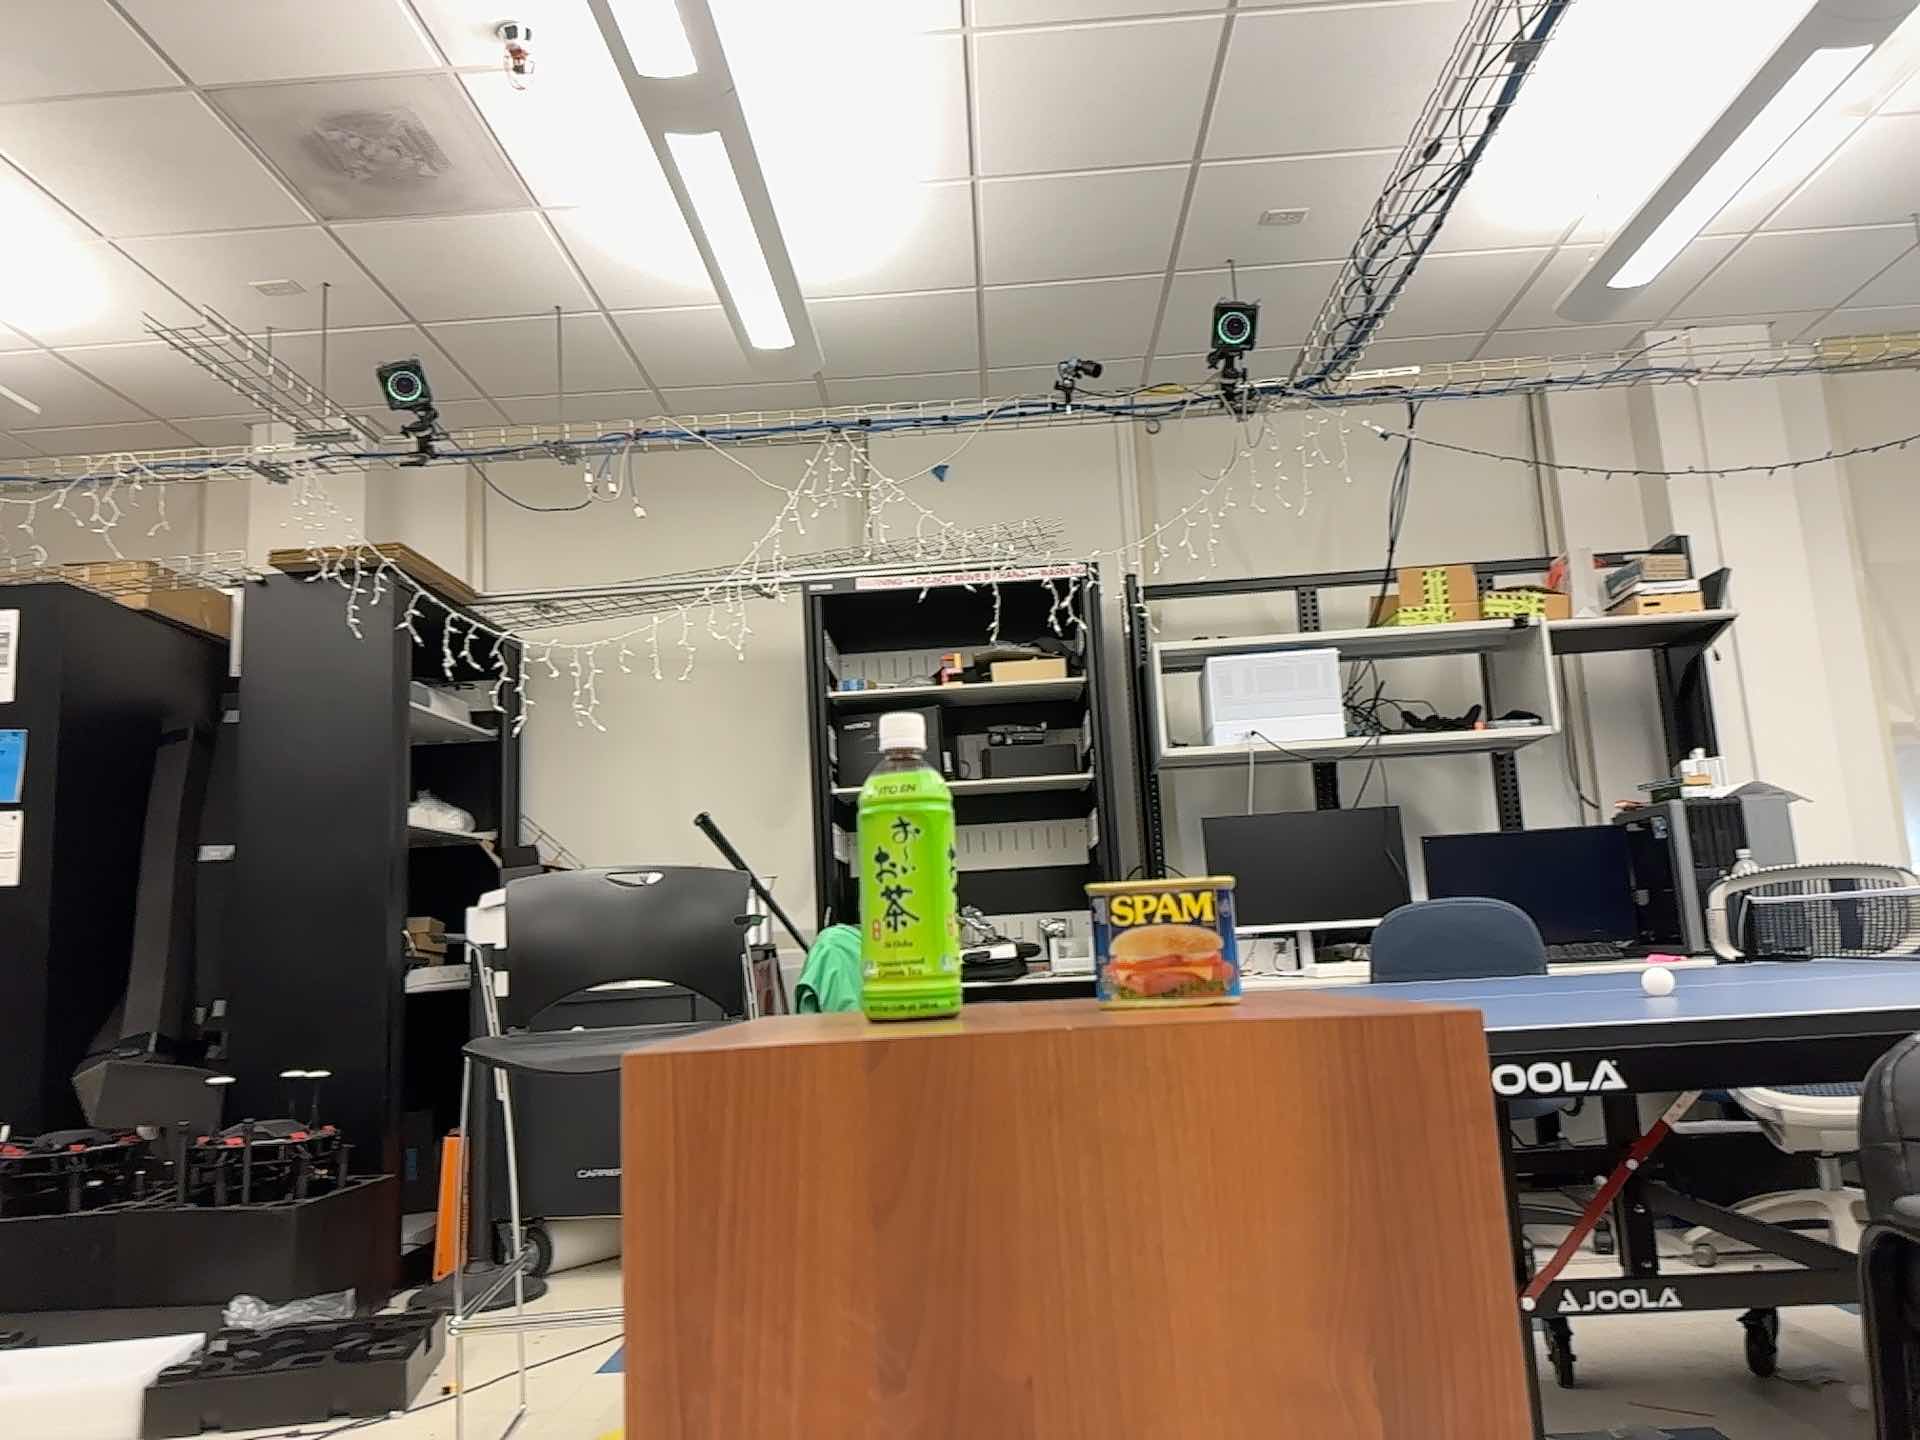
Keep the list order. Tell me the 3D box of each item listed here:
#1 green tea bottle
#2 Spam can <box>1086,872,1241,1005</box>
[{"bbox_3d":[-0.038,0.097,0.940,0.073,0.212,0.073,-5,-12,-1],"label":"green tea bottle"},{"bbox_3d":[0.142,0.153,0.940,0.100,0.083,0.056,-5,-11,10],"label":"Spam can"}]
